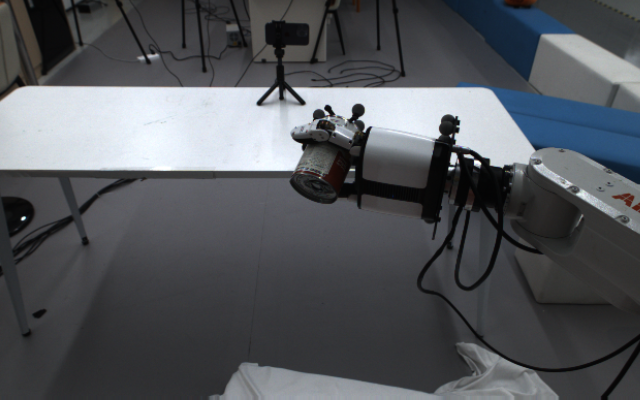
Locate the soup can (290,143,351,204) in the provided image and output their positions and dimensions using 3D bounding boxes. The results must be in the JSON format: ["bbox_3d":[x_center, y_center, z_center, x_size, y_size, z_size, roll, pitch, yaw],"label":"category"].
[{"bbox_3d":[0.011,-0.056,0.651,0.067,0.067,0.101,15,63,18],"label":"soup can"}]
